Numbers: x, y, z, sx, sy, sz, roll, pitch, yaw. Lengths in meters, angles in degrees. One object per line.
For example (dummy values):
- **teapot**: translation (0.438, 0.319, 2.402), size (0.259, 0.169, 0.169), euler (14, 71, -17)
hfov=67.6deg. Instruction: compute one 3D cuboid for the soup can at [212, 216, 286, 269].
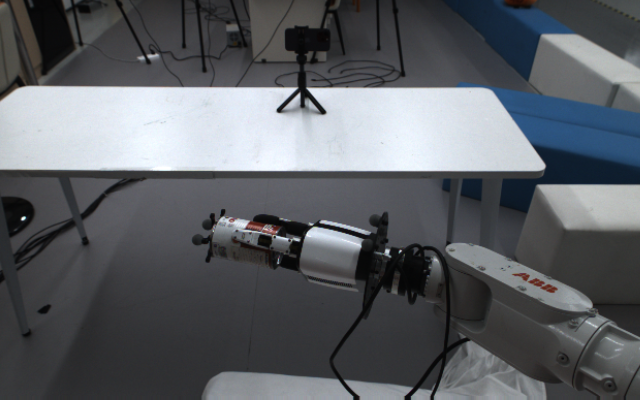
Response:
- **soup can**: translation (-0.109, 0.067, 0.749), size (0.101, 0.067, 0.067), euler (9, 35, 11)
